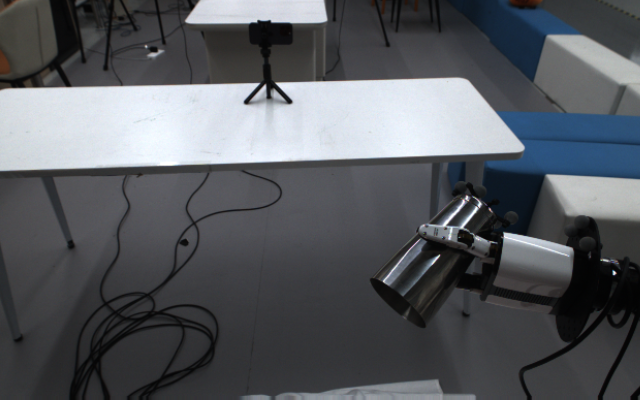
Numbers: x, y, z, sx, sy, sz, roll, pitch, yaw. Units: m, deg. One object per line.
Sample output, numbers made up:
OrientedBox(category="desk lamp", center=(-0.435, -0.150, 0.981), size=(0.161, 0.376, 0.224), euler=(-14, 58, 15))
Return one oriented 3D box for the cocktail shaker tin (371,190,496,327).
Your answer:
OrientedBox(category="cocktail shaker tin", center=(0.156, 0.068, 0.638), size=(0.170, 0.093, 0.093), euler=(-43, 50, -14))
